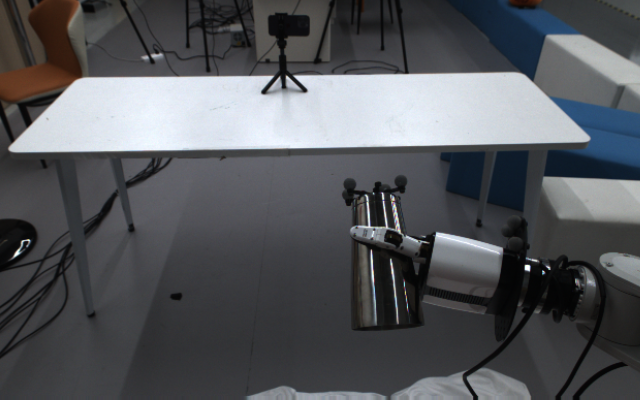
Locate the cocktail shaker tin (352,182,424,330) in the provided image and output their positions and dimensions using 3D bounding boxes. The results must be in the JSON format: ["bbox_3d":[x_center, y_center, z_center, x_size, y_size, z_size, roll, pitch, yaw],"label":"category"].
[{"bbox_3d":[0.081,0.081,0.636,0.093,0.093,0.170,-2,71,-6],"label":"cocktail shaker tin"}]
